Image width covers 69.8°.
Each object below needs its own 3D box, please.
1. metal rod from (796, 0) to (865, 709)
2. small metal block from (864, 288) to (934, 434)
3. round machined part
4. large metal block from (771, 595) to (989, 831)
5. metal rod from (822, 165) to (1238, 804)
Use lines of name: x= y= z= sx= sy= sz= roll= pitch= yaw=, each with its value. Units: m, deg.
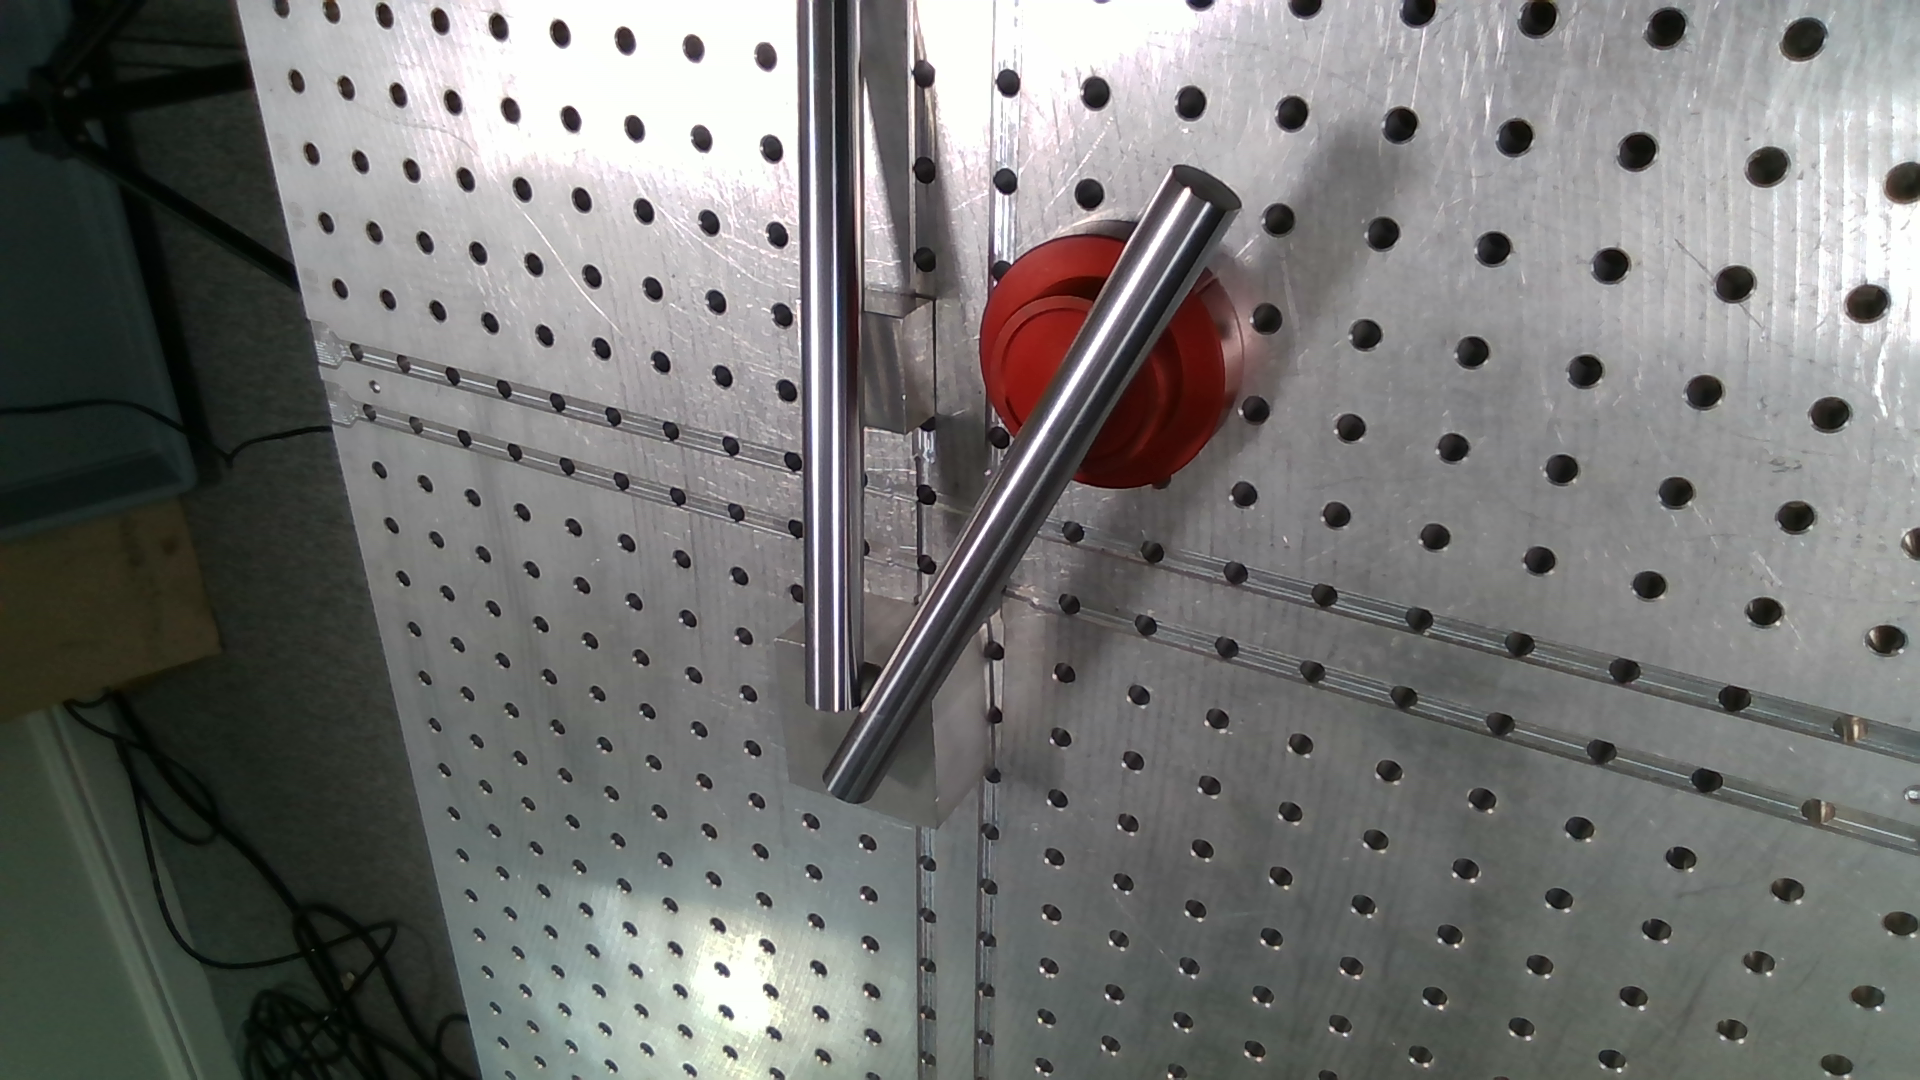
metal rod: x=-0.050 y=-0.077 z=0.536 sx=0.025 sy=0.025 sz=0.301 roll=11 pitch=110 yaw=27
small metal block: x=-0.039 y=-0.076 z=0.566 sx=0.050 sy=0.025 sz=0.050 roll=14 pitch=122 yaw=25
round machined part: x=0.050 y=-0.064 z=0.506 sx=0.098 sy=0.042 sz=0.098 roll=14 pitch=122 yaw=25
large metal block: x=-0.035 y=0.075 z=0.625 sx=0.080 sy=0.050 sz=0.080 roll=12 pitch=121 yaw=26
metal rod: x=0.013 y=-0.002 z=0.511 sx=0.025 sy=0.025 sz=0.301 roll=37 pitch=126 yaw=9
